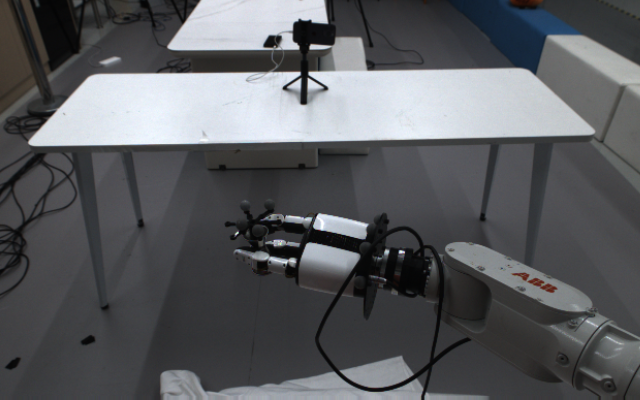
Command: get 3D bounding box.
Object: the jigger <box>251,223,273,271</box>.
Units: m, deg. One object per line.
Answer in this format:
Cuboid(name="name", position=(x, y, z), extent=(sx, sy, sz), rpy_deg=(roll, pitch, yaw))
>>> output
Cuboid(name="jigger", position=(-0.090, 0.075, 0.754), extent=(0.043, 0.071, 0.043), rpy_deg=(-9, 31, 5))
